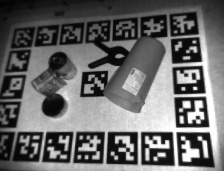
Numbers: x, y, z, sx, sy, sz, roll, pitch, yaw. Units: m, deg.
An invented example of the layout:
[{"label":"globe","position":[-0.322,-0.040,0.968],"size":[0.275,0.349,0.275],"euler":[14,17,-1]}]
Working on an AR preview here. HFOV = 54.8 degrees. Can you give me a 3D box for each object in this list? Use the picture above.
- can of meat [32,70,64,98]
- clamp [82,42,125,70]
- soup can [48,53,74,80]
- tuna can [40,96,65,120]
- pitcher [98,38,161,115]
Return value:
[{"label":"can of meat","position":[-0.243,-0.003,0.796],"size":[0.084,0.103,0.057],"euler":[-38,69,2]},{"label":"clamp","position":[-0.030,-0.117,0.840],"size":[0.164,0.037,0.121],"euler":[1,68,8]},{"label":"soup can","position":[-0.194,-0.069,0.813],"size":[0.067,0.103,0.068],"euler":[-4,72,14]},{"label":"tuna can","position":[-0.219,0.084,0.801],"size":[0.085,0.034,0.085],"euler":[-3,73,11]},{"label":"pitcher","position":[0.063,-0.037,0.727],"size":[0.186,0.135,0.243],"euler":[12,66,39]}]
